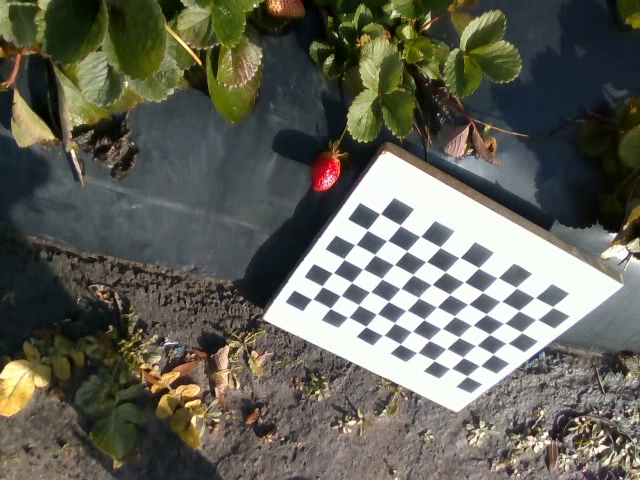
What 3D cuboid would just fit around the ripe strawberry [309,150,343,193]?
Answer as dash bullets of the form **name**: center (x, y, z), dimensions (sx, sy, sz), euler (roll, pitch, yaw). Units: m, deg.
- **ripe strawberry**: center (0.004, -0.056, 0.505), dimensions (0.035, 0.037, 0.033), euler (26, -15, -12)
